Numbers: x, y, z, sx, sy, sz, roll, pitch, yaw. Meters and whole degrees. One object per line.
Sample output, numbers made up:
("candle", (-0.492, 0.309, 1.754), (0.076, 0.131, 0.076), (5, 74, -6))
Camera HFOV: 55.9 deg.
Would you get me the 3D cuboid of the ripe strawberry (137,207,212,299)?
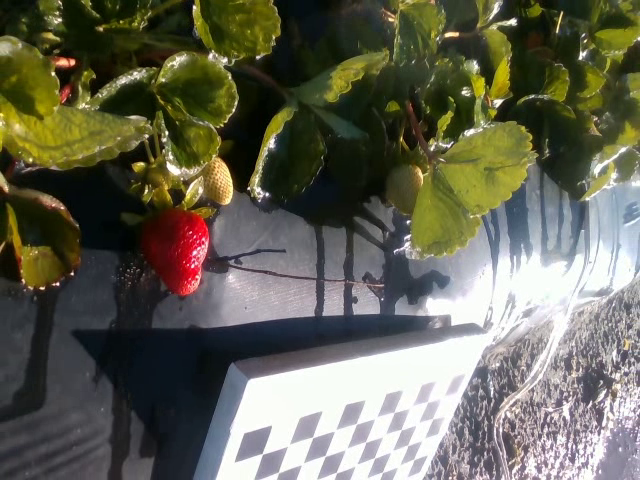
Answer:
("ripe strawberry", (-0.059, 0.009, 0.254), (0.039, 0.039, 0.040), (-4, -35, -31))
